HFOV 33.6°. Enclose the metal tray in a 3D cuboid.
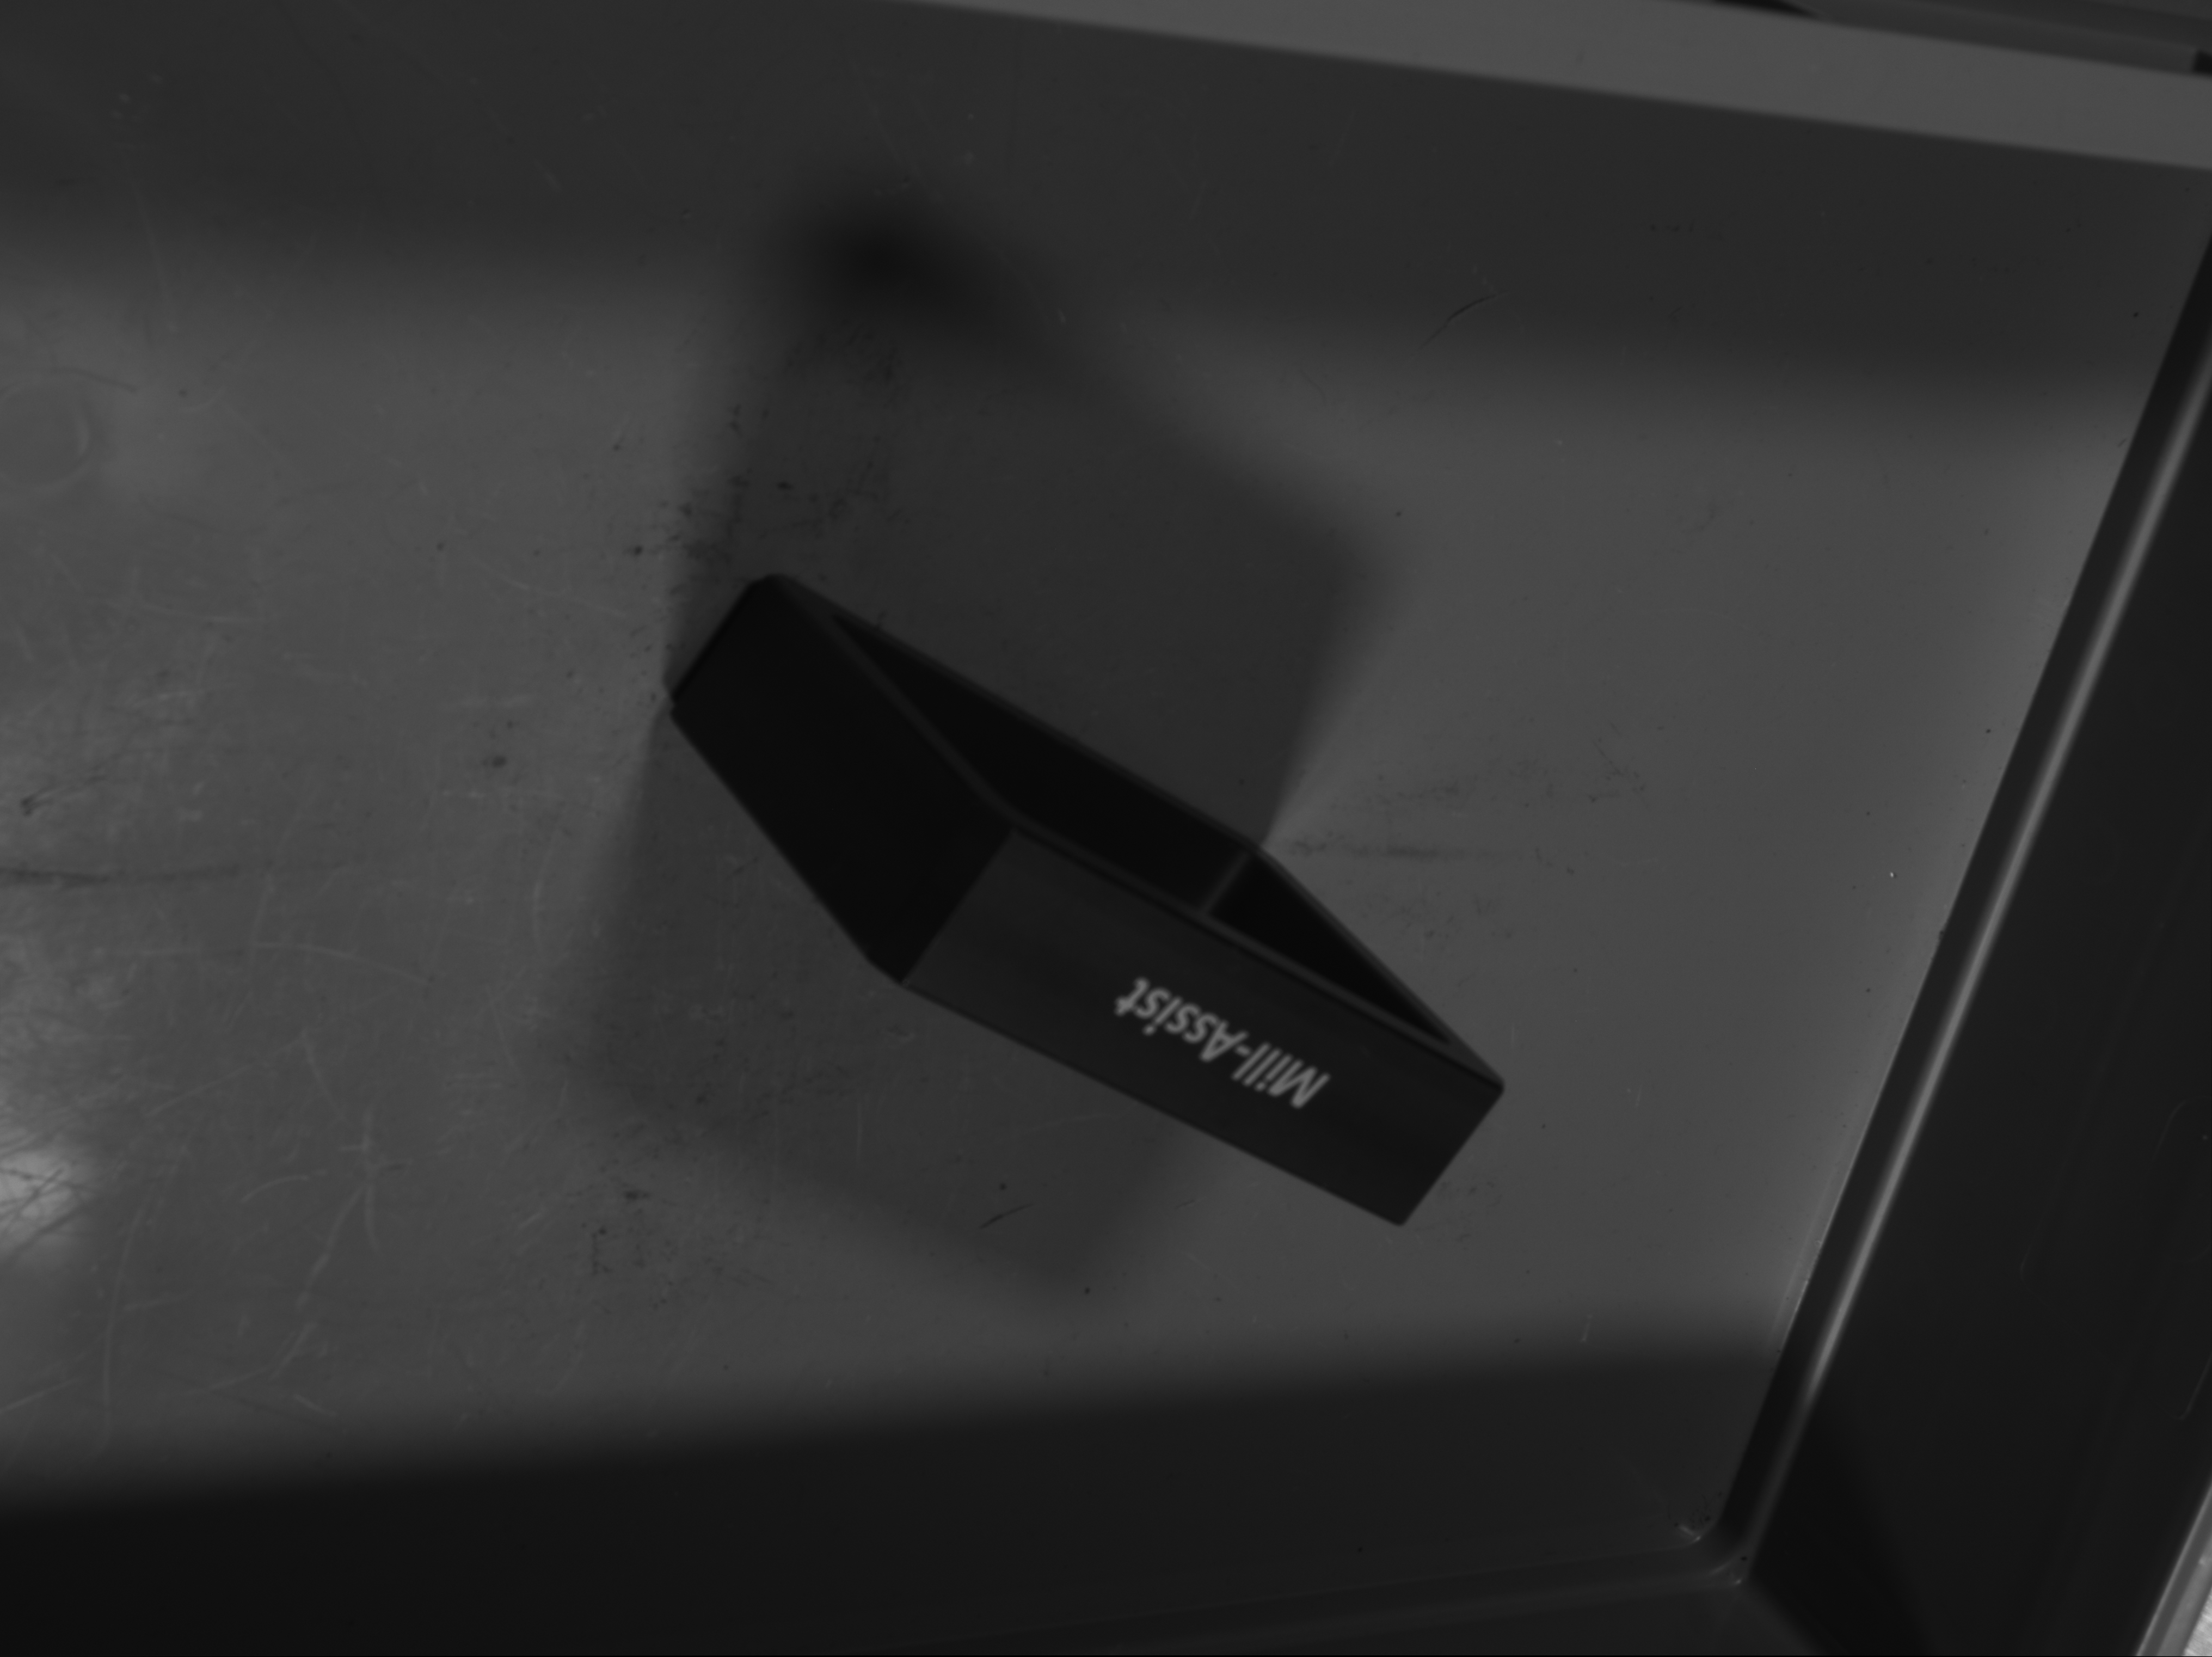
[{"bbox_3d":[0.004,0.014,0.616,0.130,0.090,0.030,29,102,-39],"label":"metal tray"}]
